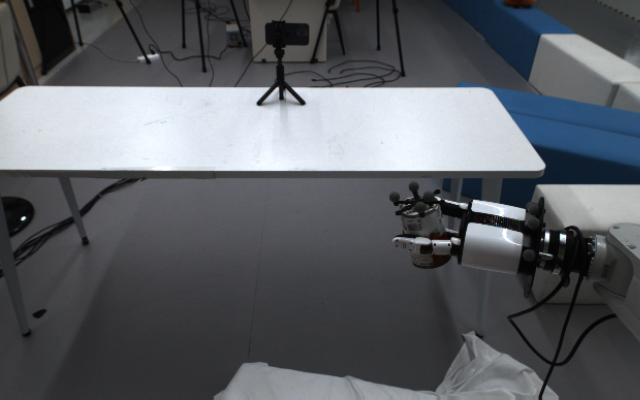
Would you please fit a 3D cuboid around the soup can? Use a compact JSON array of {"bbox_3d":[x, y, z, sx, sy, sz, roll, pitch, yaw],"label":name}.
[{"bbox_3d":[0.174,0.052,0.795,0.067,0.101,0.067,-16,23,7],"label":"soup can"}]
